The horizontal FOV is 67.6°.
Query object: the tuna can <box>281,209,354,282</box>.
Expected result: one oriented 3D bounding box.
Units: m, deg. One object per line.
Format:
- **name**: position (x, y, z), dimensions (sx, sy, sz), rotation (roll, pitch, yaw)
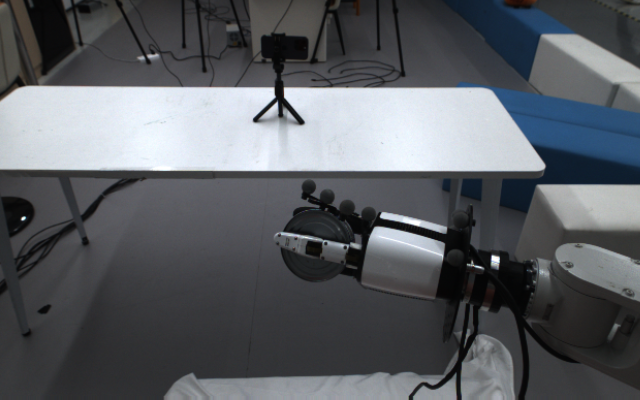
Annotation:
- **tuna can**: position (0.001, 0.053, 0.579), dimensions (0.085, 0.085, 0.034), rotation (13, 2, 16)
